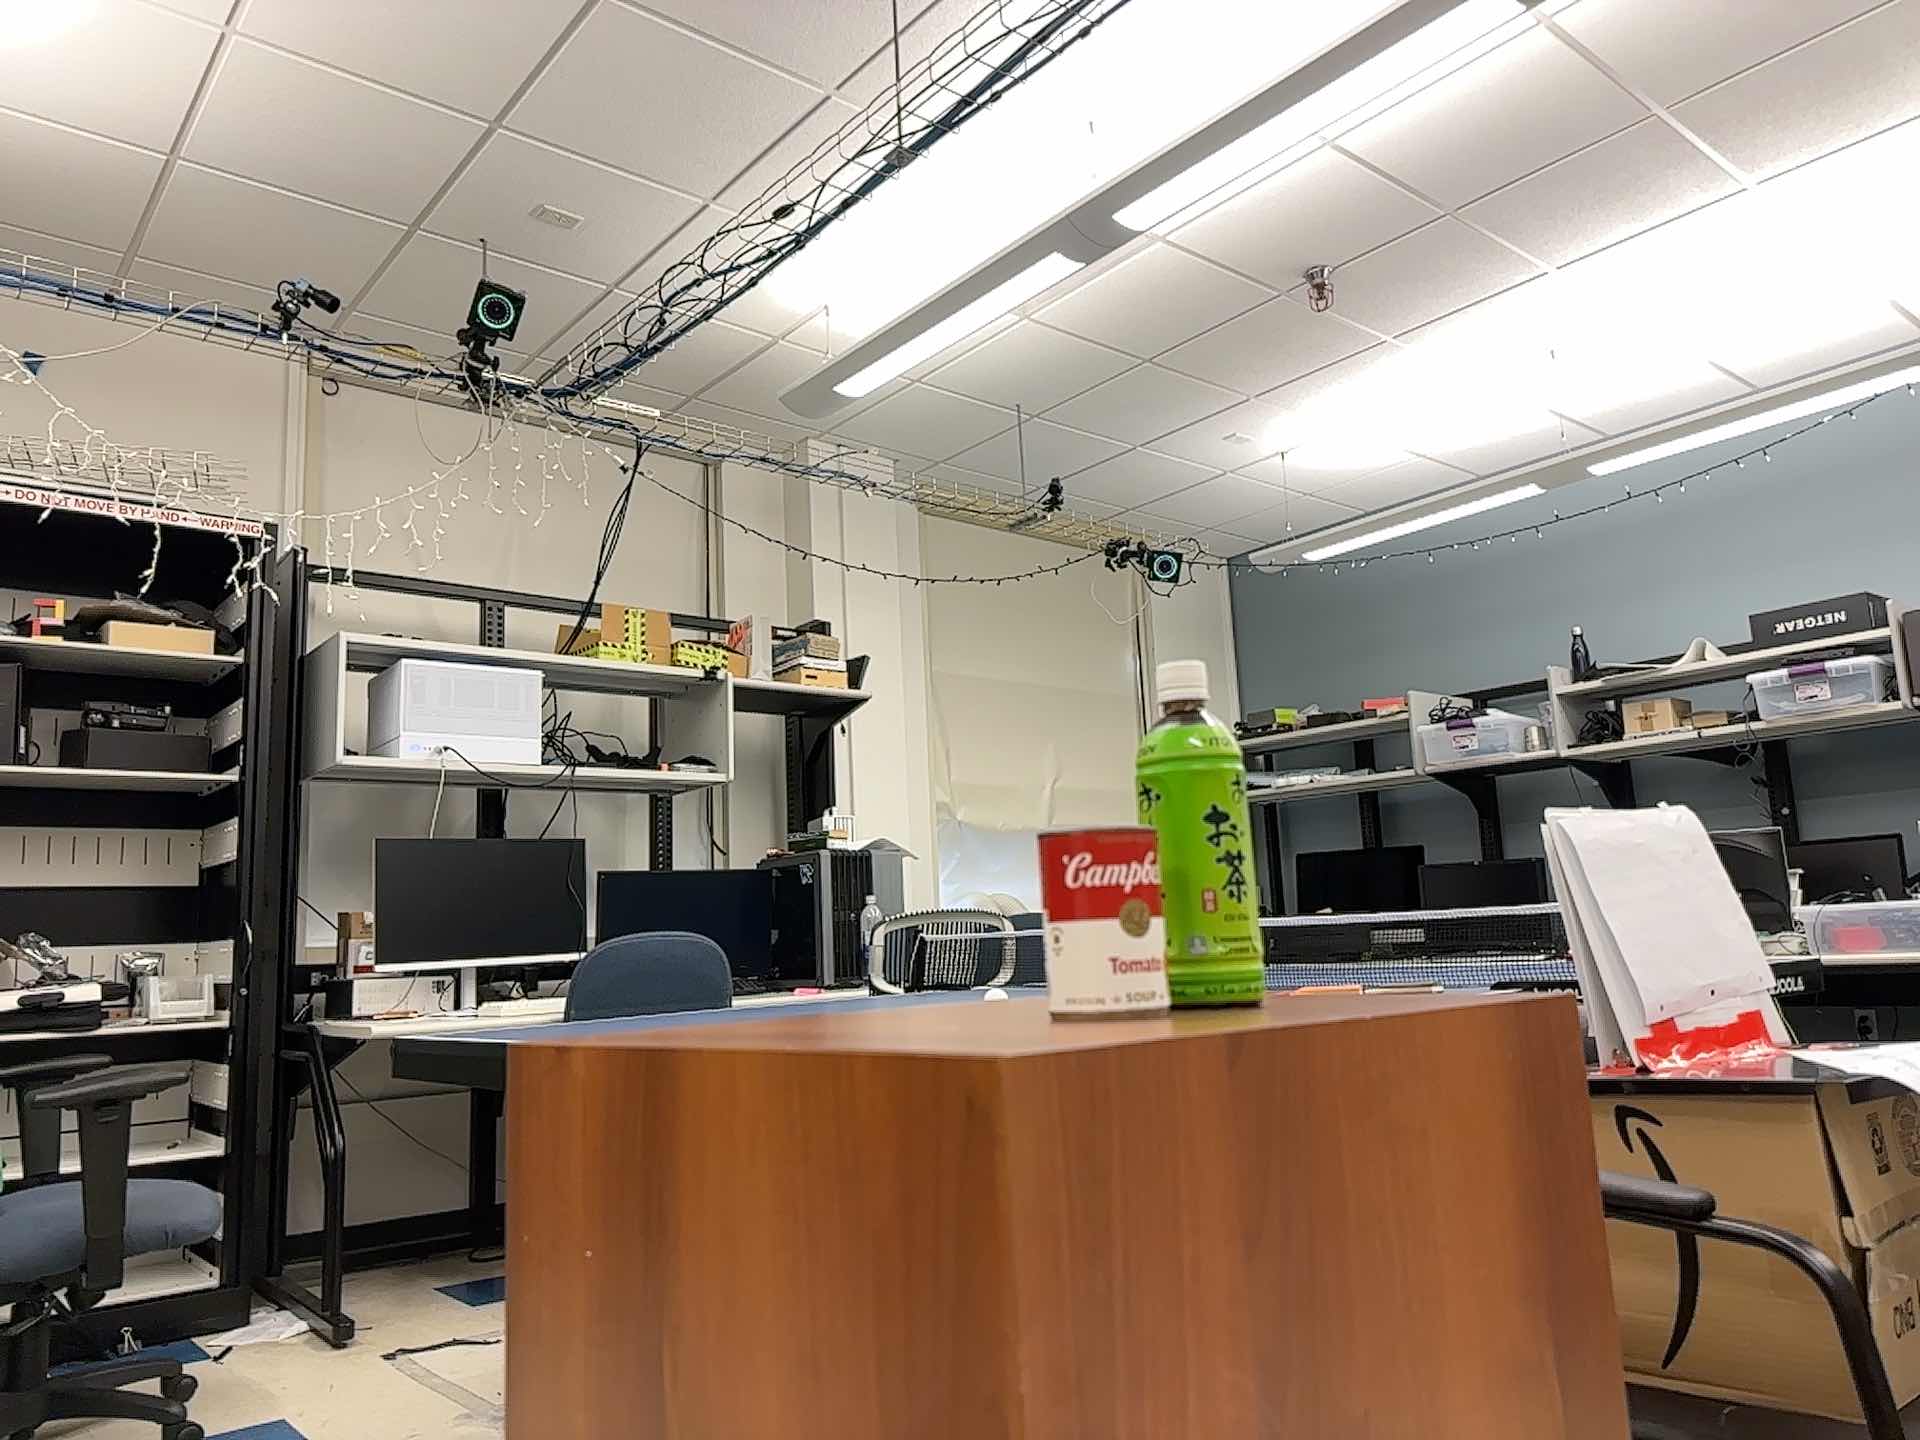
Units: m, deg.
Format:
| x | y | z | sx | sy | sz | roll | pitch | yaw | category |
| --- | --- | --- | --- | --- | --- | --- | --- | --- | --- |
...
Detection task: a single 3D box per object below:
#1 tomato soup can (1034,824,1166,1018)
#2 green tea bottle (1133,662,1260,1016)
| x | y | z | sx | sy | sz | roll | pitch | yaw | category |
| --- | --- | --- | --- | --- | --- | --- | --- | --- | --- |
| 0.076 | 0.110 | 0.737 | 0.067 | 0.102 | 0.067 | -2 | -9 | 0 | tomato soup can |
| 0.140 | 0.071 | 0.817 | 0.073 | 0.212 | 0.073 | -3 | -7 | 0 | green tea bottle |
